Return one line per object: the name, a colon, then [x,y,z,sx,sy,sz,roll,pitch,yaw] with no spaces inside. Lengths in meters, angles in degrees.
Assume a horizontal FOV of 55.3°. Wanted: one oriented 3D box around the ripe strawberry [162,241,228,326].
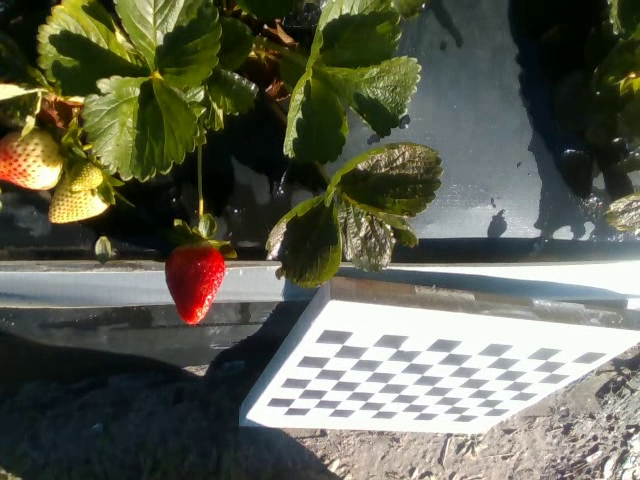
ripe strawberry: [-0.066,0.023,0.312,0.036,0.046,0.038,9,-22,-15]
